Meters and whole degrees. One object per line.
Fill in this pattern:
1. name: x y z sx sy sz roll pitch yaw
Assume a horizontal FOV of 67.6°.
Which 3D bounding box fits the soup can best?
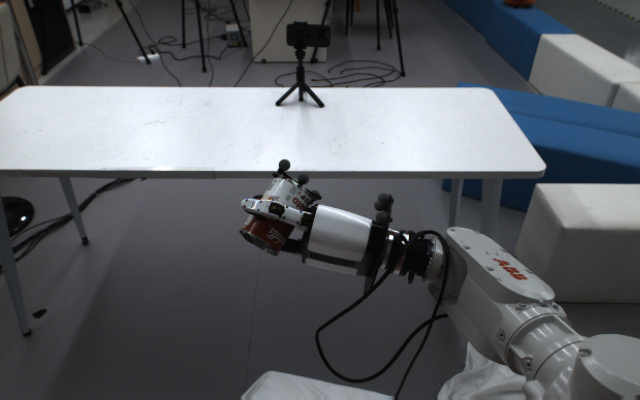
1. soup can: -0.065 0.023 0.724 0.067 0.067 0.101 23 72 28
